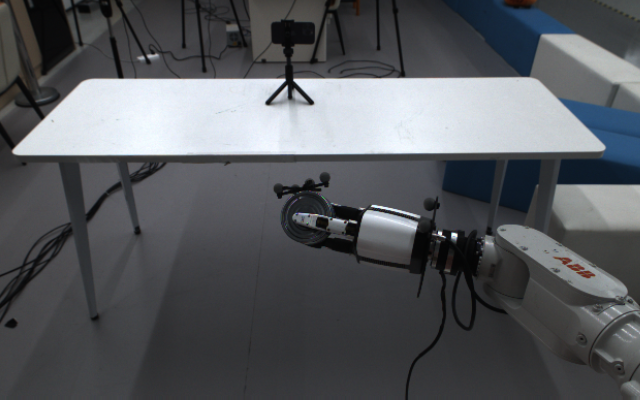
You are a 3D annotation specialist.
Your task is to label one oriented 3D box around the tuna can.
[{"bbox_3d":[-0.016,0.034,0.774,0.085,0.085,0.034,12,-6,14],"label":"tuna can"}]
